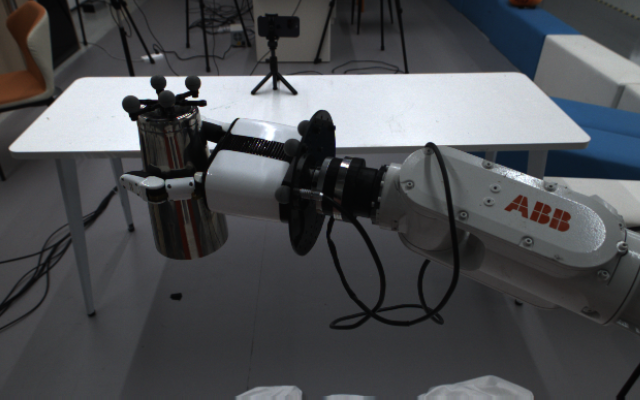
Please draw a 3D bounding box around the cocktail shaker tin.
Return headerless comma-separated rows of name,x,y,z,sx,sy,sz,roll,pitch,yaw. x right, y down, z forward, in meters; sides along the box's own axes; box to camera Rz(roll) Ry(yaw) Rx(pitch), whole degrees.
cocktail shaker tin,-0.161,-0.025,0.567,0.093,0.170,0.093,-1,33,0
